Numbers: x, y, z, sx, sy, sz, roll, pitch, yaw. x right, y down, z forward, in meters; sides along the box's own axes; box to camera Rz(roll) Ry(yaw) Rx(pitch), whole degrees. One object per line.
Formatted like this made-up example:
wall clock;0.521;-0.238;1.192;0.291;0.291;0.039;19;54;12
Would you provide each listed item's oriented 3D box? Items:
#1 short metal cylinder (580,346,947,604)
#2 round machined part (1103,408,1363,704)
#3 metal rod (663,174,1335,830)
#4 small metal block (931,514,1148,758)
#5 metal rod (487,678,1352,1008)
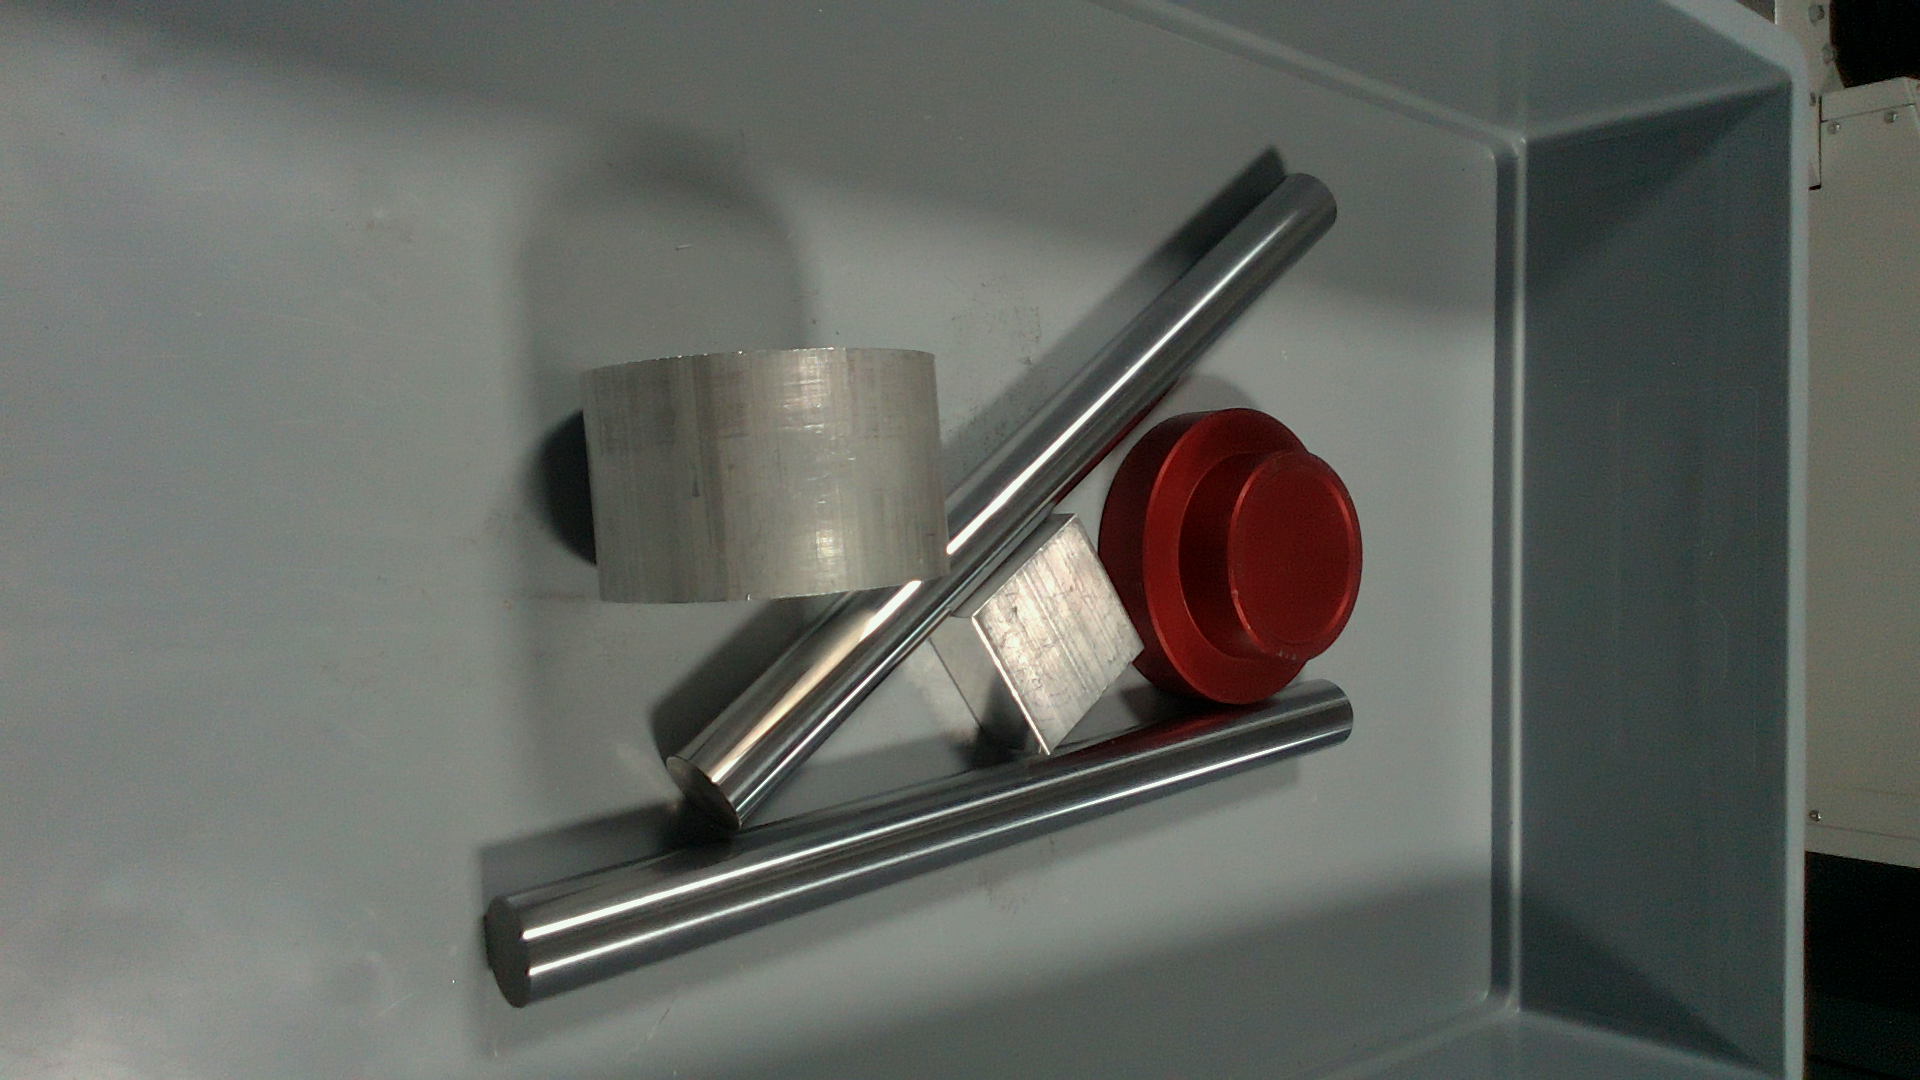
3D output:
short metal cylinder;-0.044;-0.015;0.316;0.080;0.080;0.050;-6;94;-40
round machined part;0.096;0.005;0.454;0.098;0.042;0.098;0;90;-40
metal rod;0.029;-0.029;0.412;0.301;0.025;0.025;-44;116;-31
small metal block;0.022;0.027;0.405;0.050;0.025;0.050;-43;116;-31
metal rod;0.015;0.077;0.400;0.301;0.025;0.025;-7;95;-40
